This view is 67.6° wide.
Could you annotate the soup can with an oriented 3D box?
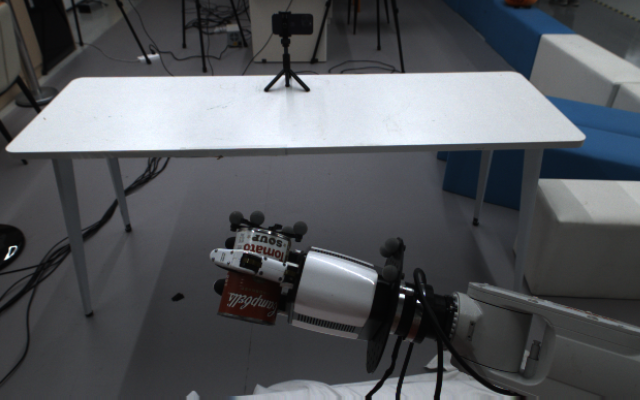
[{"bbox_3d":[-0.074,0.091,0.563,0.067,0.067,0.101,8,72,9],"label":"soup can"}]
